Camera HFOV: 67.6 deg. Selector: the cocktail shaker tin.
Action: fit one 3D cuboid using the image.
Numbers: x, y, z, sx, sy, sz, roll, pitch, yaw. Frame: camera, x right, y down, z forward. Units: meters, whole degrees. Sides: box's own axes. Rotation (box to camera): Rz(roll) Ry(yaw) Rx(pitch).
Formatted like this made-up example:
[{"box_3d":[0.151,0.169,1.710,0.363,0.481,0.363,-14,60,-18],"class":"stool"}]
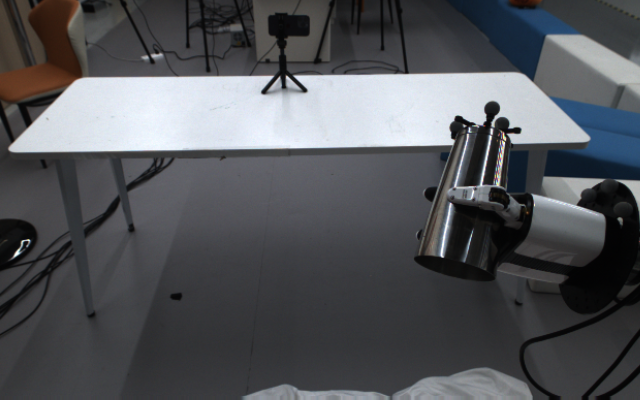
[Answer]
[{"box_3d":[0.178,0.001,0.576,0.093,0.093,0.170,13,73,16],"class":"cocktail shaker tin"}]
